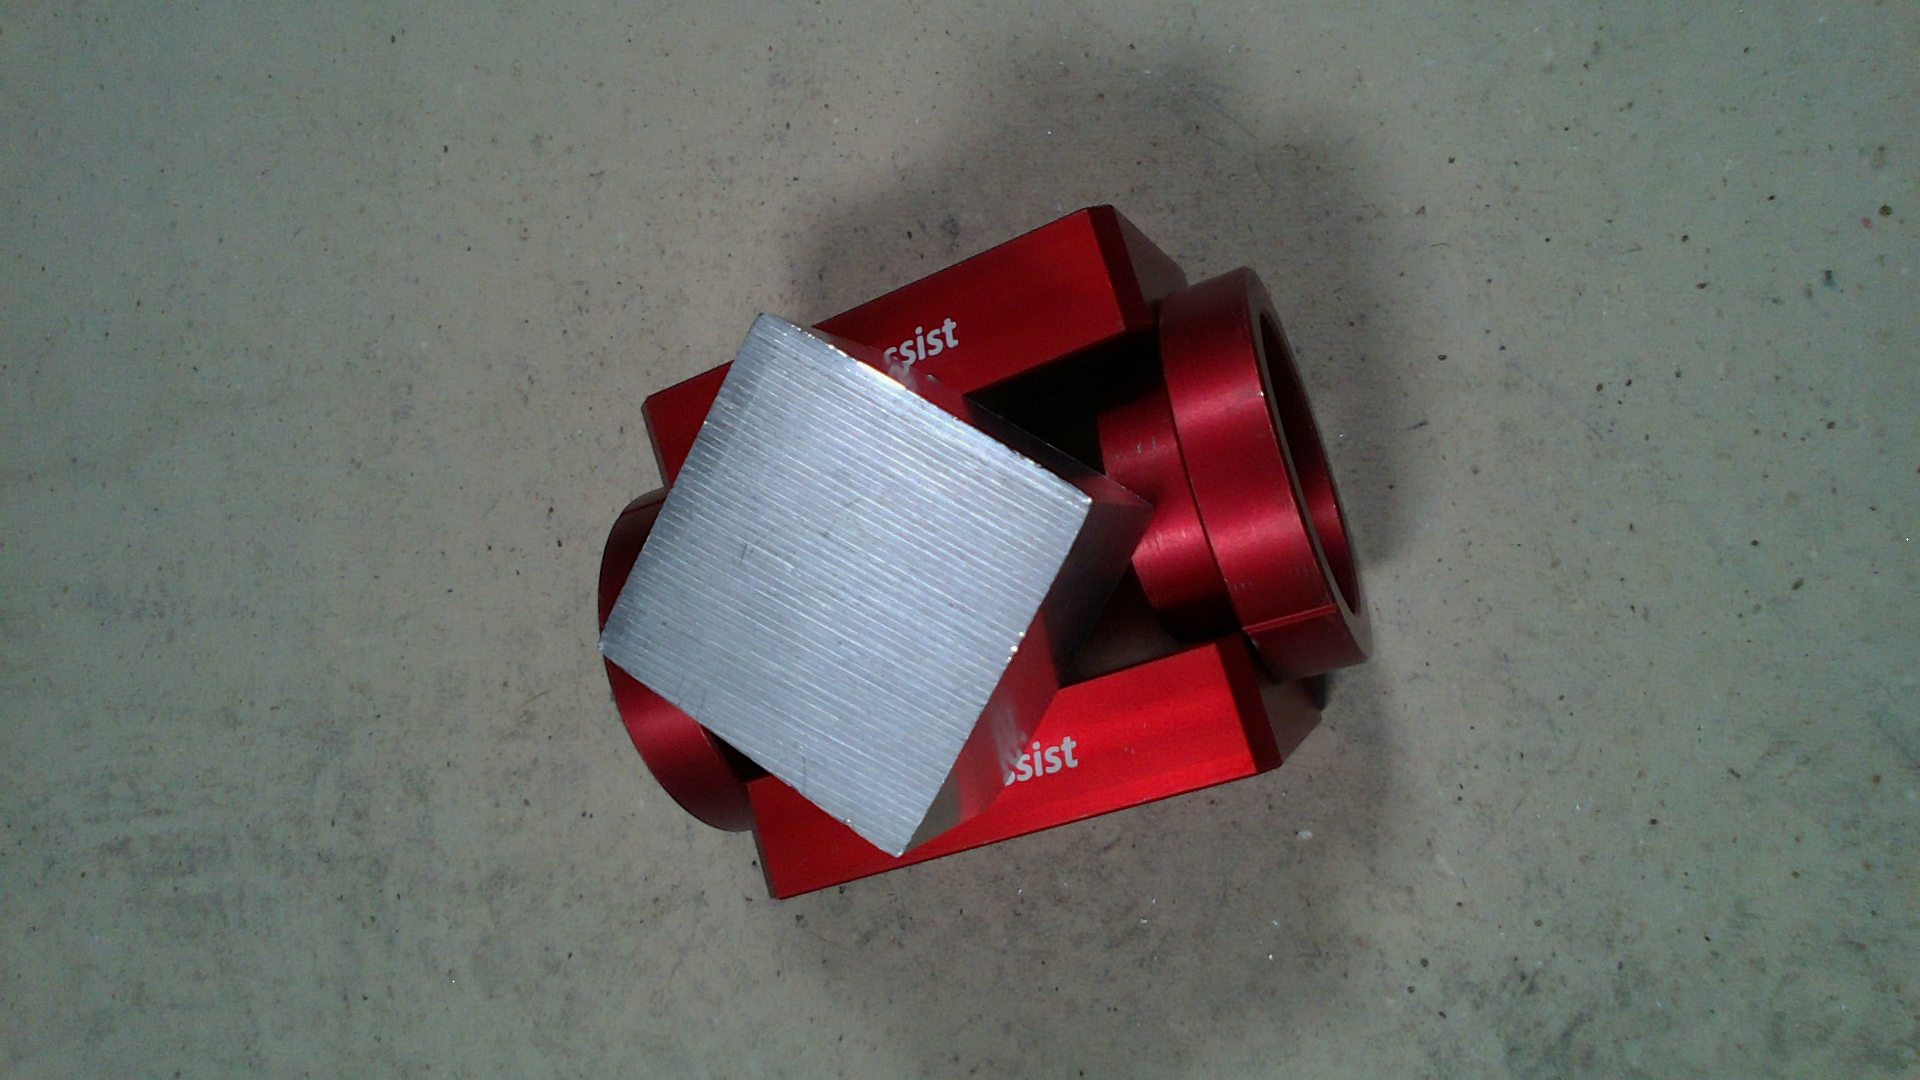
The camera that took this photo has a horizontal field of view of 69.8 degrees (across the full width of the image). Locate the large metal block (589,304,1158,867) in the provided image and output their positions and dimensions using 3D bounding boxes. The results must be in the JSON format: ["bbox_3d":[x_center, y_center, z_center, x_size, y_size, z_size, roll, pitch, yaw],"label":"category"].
[{"bbox_3d":[-0.017,0.008,0.290,0.080,0.050,0.080,31,100,17],"label":"large metal block"}]

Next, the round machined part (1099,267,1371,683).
[{"bbox_3d":[0.065,-0.013,0.333,0.042,0.098,0.098,-17,85,19],"label":"round machined part"}]

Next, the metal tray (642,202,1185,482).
[{"bbox_3d":[-0.005,-0.041,0.364,0.130,0.090,0.030,-20,83,19],"label":"metal tray"}]

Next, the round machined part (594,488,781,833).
[{"bbox_3d":[-0.052,0.027,0.376,0.042,0.098,0.098,-17,85,19],"label":"round machined part"}]

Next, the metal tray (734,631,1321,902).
[{"bbox_3d":[0.021,0.054,0.353,0.130,0.090,0.030,-19,84,19],"label":"metal tray"}]
